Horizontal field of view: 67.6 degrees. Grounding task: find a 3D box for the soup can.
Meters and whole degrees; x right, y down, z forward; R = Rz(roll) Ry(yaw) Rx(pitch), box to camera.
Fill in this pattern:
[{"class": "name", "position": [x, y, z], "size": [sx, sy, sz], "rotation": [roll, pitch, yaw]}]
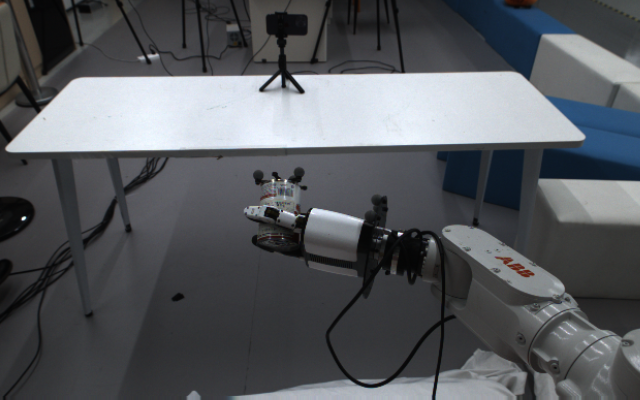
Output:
[{"class": "soup can", "position": [-0.065, 0.025, 0.775], "size": [0.067, 0.067, 0.101], "rotation": [1, 68, -1]}]
